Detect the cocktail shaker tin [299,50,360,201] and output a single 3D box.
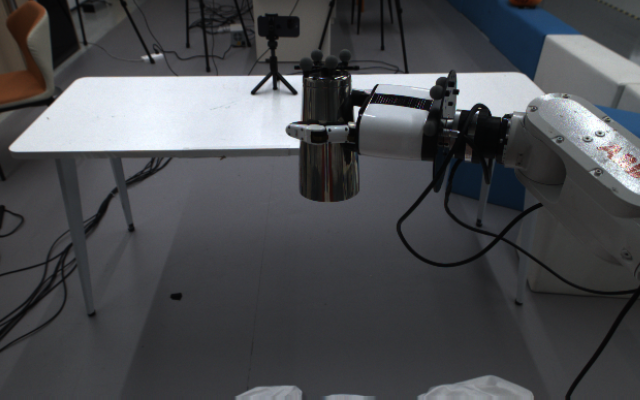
[{"bbox_3d":[0.013,-0.095,0.689,0.093,0.170,0.093,-1,26,1],"label":"cocktail shaker tin"}]
